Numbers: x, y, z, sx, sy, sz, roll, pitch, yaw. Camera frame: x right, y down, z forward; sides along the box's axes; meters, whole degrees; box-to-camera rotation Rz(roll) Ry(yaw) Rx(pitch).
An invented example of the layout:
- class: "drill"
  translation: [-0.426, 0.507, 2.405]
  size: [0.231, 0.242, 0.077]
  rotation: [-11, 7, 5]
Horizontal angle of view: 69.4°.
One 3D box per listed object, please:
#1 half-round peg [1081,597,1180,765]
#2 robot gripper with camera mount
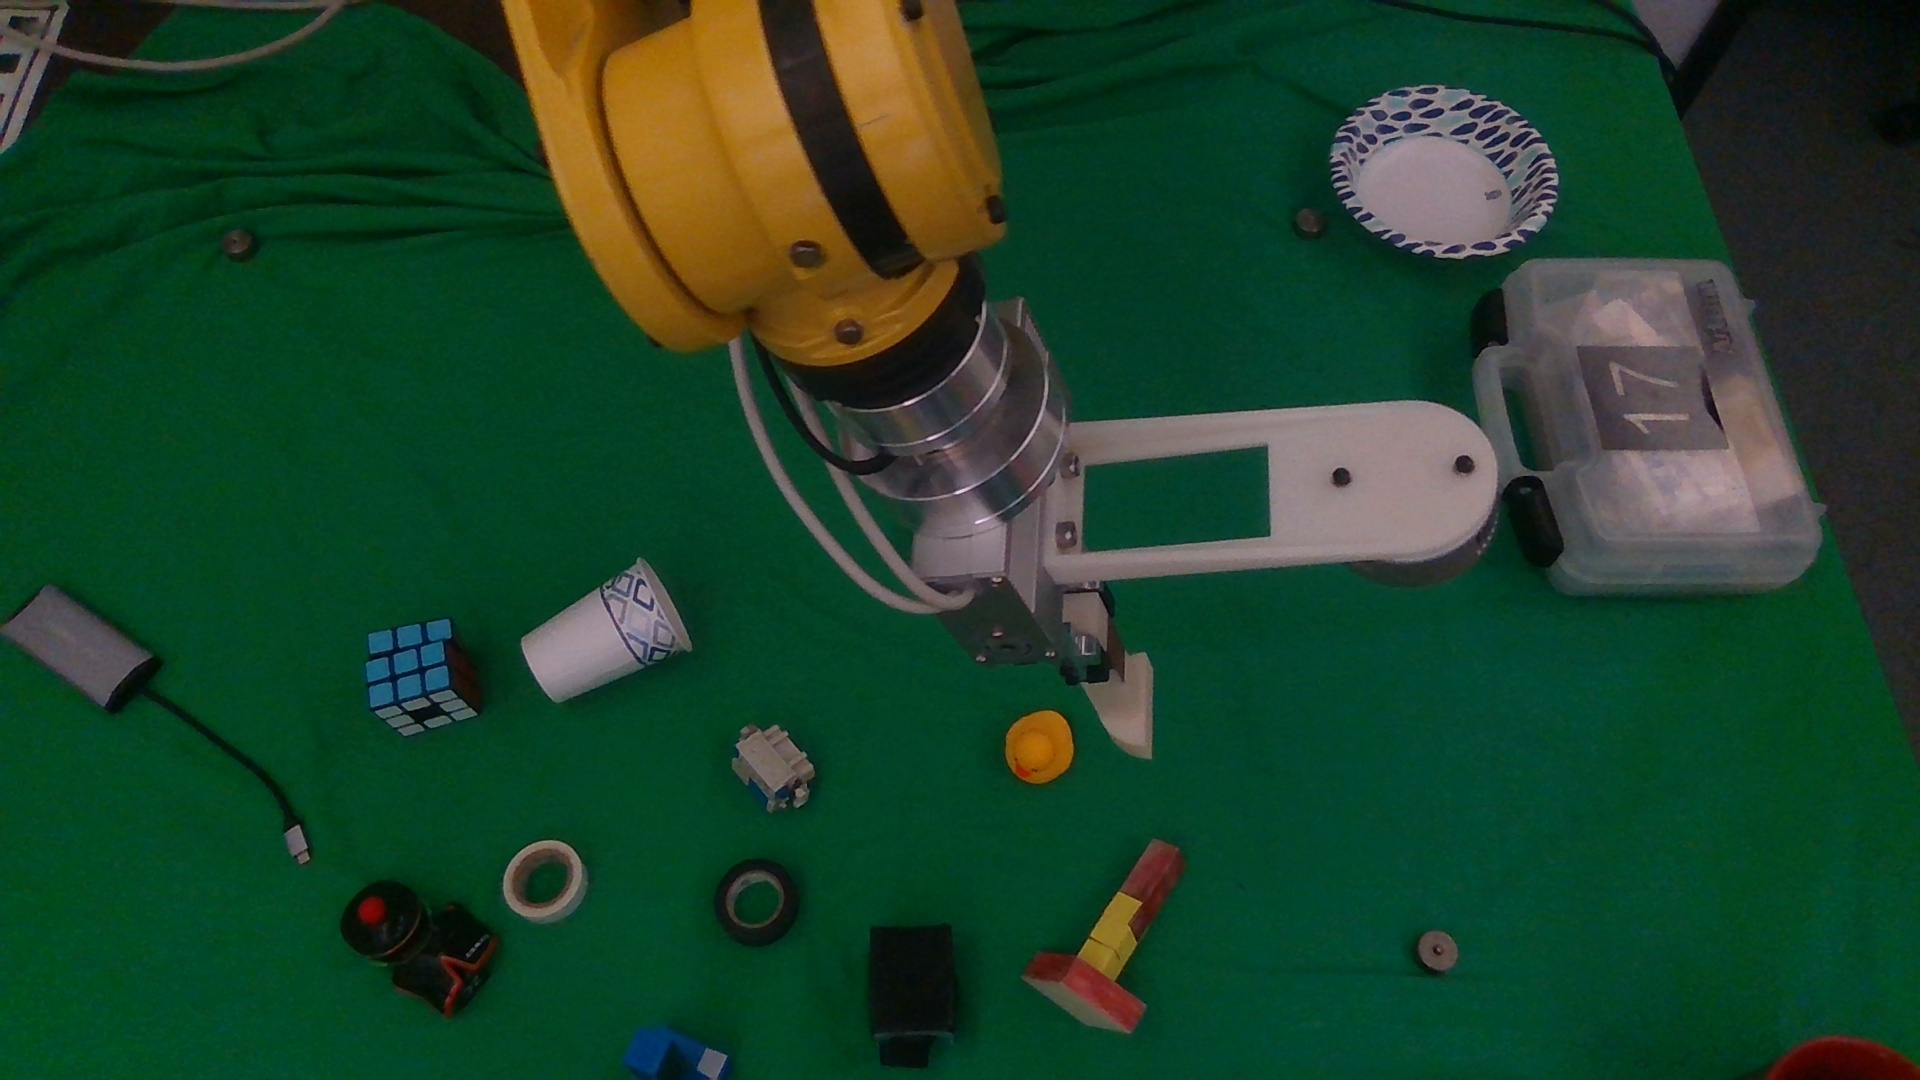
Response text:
- class: "half-round peg"
  translation: [0.078, 0.061, 0.644]
  size: [0.031, 0.121, 0.054]
  rotation: [-12, 58, 9]
- class: "robot gripper with camera mount"
  translation: [0.103, -0.005, 0.537]
  size: [0.194, 0.158, 0.119]
  rotation: [-6, 58, 19]
